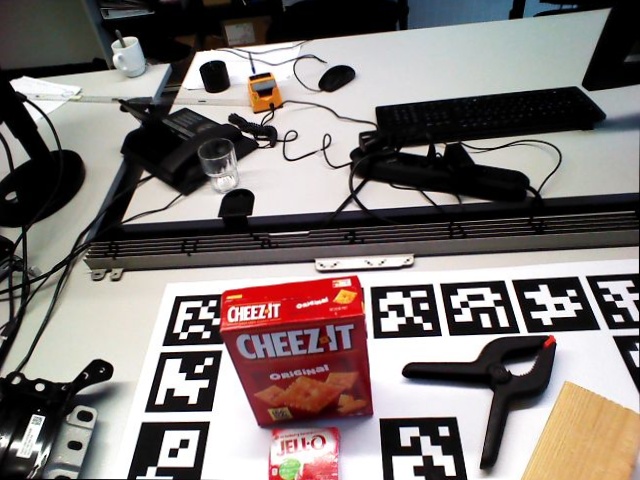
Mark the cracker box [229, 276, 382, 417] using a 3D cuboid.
[{"bbox_3d":[-0.009,0.136,0.638,0.165,0.214,0.071,-5,45,3],"label":"cracker box"}]

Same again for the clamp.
[{"bbox_3d":[0.242,0.181,0.677,0.202,0.037,0.165,-27,49,-14],"label":"clamp"}]

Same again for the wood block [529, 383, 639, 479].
[{"bbox_3d":[0.272,0.271,0.554,0.090,0.091,0.205,23,52,32],"label":"wood block"}]

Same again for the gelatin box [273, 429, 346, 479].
[{"bbox_3d":[-0.013,0.277,0.643,0.090,0.030,0.073,-5,48,6],"label":"gelatin box"}]
